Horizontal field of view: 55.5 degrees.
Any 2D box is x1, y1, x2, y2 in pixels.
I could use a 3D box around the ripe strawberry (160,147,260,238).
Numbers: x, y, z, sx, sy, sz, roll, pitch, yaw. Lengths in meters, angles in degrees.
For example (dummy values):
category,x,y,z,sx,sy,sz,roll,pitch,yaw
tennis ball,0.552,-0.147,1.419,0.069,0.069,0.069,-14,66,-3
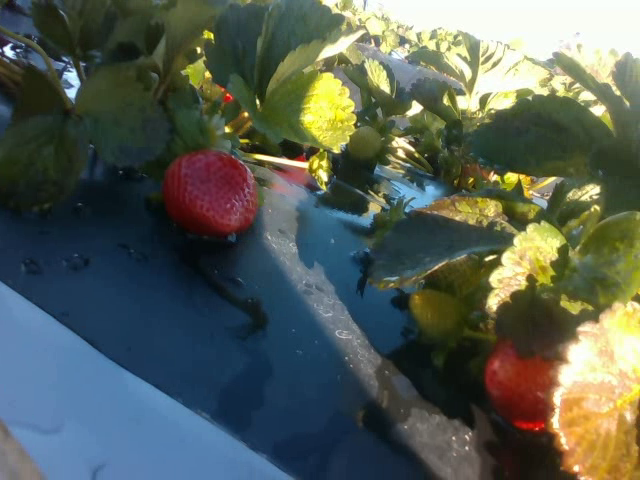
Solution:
category,x,y,z,sx,sy,sz,roll,pitch,yaw
ripe strawberry,-0.044,-0.018,0.250,0.045,0.042,0.059,-23,40,-2
